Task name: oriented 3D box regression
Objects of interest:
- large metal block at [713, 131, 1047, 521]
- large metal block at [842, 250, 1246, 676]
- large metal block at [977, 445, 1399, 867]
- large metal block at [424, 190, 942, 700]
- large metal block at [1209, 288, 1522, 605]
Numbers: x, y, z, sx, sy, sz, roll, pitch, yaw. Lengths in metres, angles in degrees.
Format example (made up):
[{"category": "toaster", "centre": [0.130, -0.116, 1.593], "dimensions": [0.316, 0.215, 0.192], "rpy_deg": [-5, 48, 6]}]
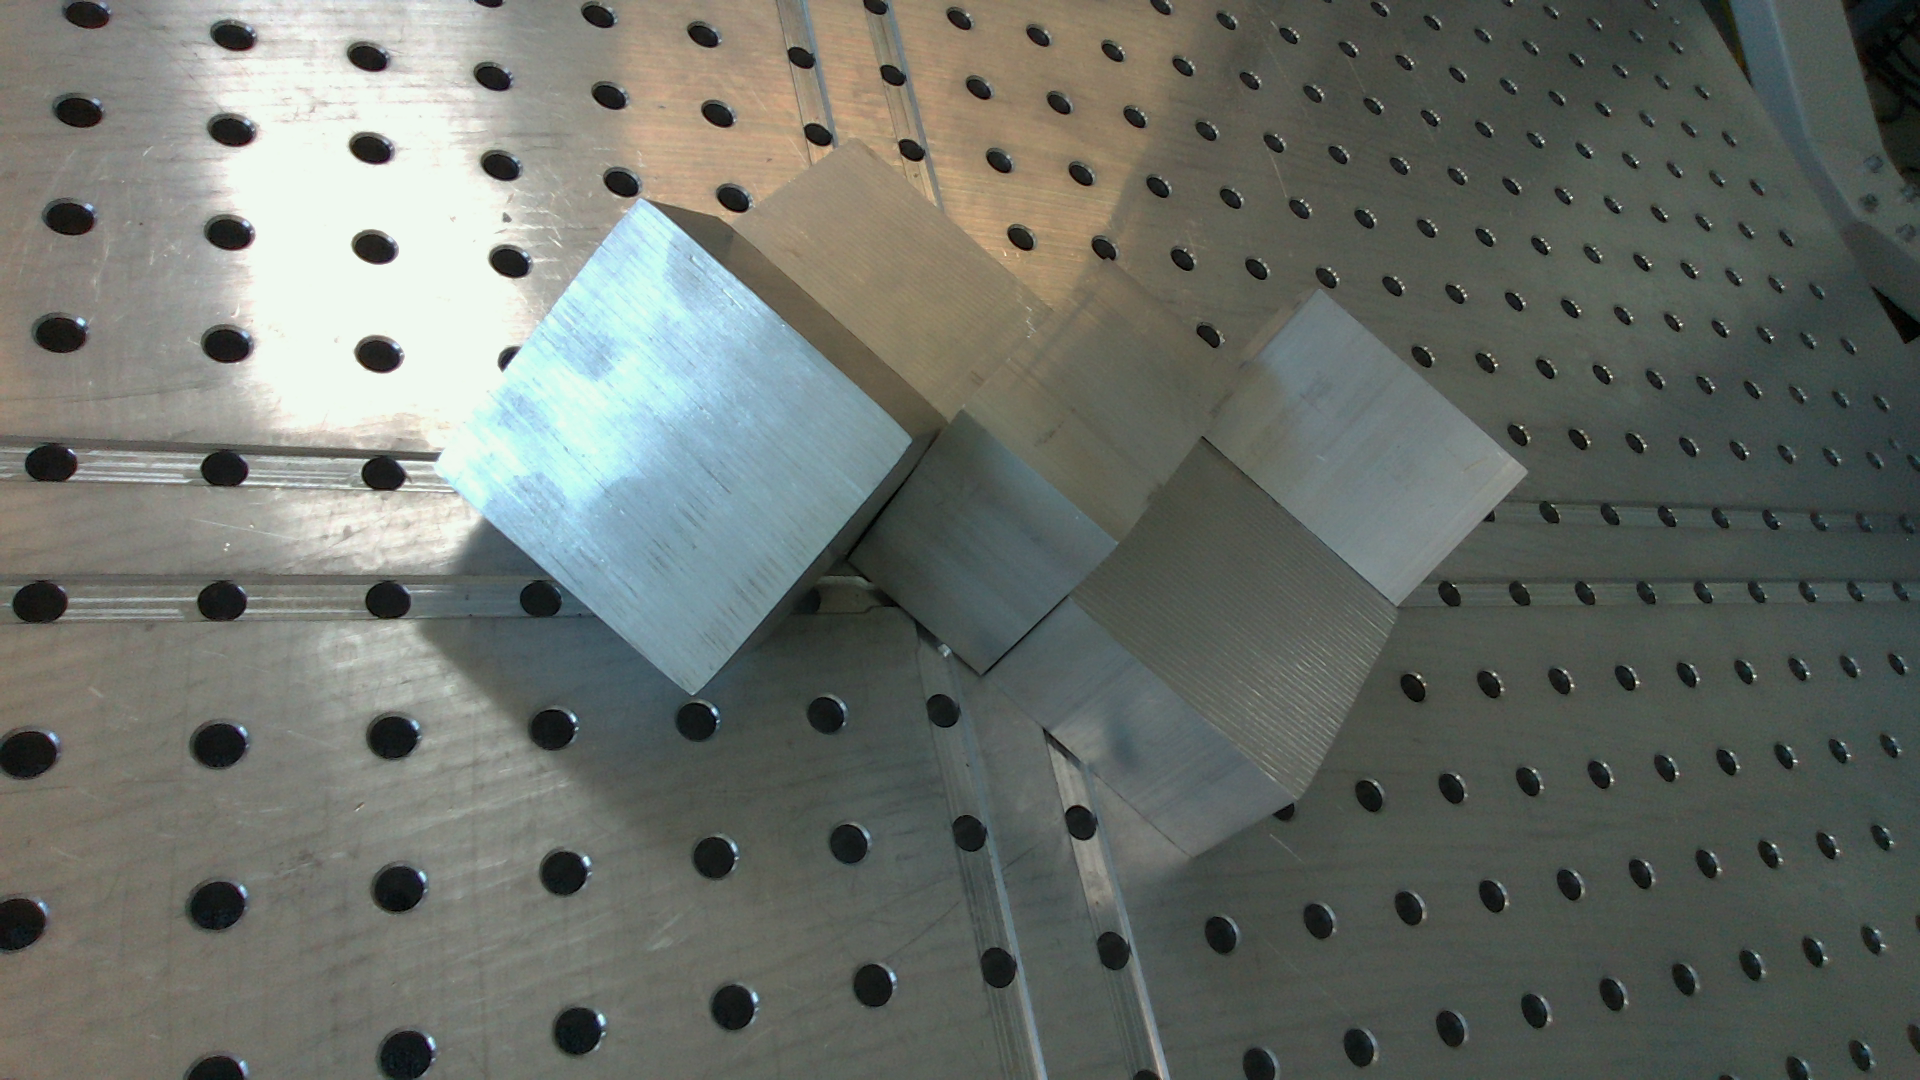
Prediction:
[{"category": "large metal block", "centre": [-0.032, -0.057, 0.394], "dimensions": [0.080, 0.050, 0.080], "rpy_deg": [42, 52, 0]}, {"category": "large metal block", "centre": [0.022, -0.020, 0.381], "dimensions": [0.050, 0.080, 0.080], "rpy_deg": [42, 51, -1]}, {"category": "large metal block", "centre": [0.066, 0.030, 0.393], "dimensions": [0.080, 0.050, 0.080], "rpy_deg": [41, 51, 2]}, {"category": "large metal block", "centre": [-0.062, -0.023, 0.329], "dimensions": [0.080, 0.080, 0.050], "rpy_deg": [42, 12, 0]}, {"category": "large metal block", "centre": [0.118, -0.032, 0.432], "dimensions": [0.080, 0.050, 0.080], "rpy_deg": [42, 11, 0]}]
